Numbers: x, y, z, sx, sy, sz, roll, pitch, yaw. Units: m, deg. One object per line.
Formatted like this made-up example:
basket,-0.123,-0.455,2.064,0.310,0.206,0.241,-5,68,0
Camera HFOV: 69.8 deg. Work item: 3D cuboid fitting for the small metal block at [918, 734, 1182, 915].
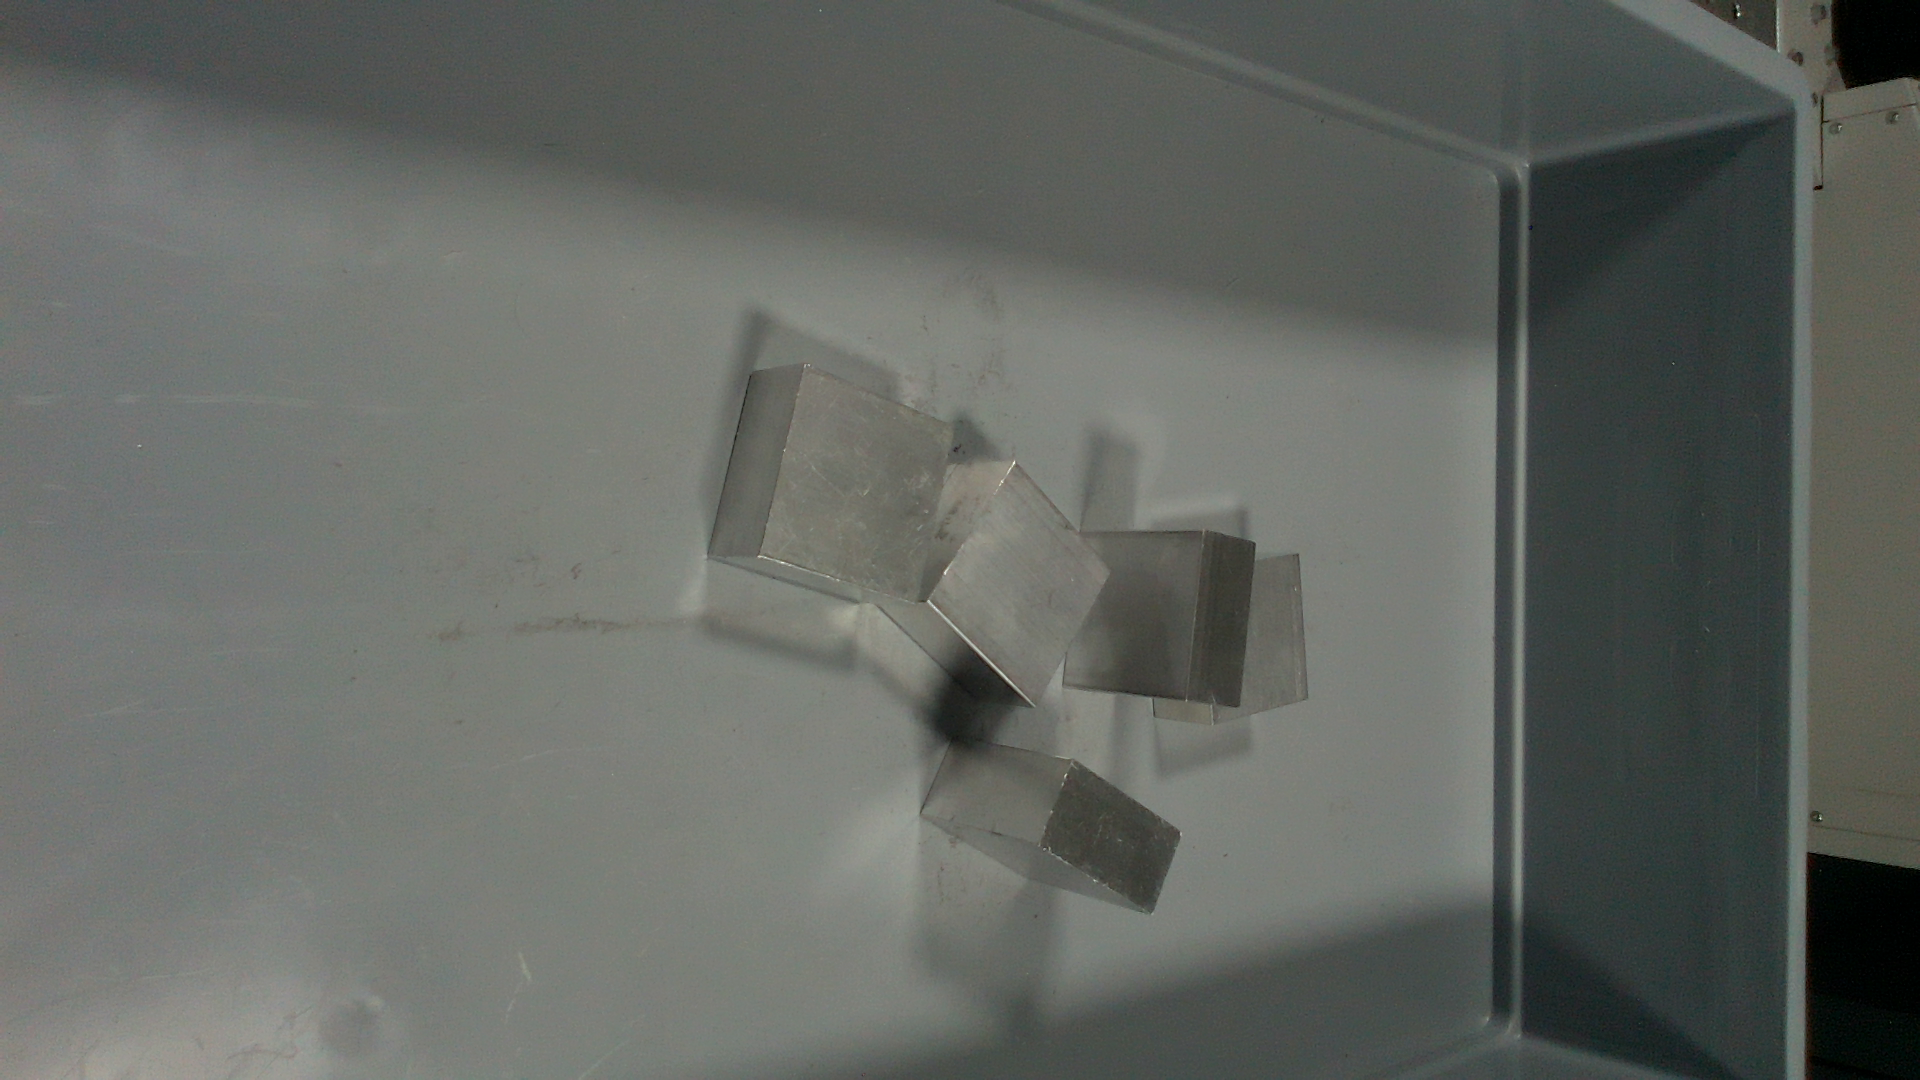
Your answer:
small metal block,0.026,0.080,0.391,0.050,0.050,0.025,38,68,-34

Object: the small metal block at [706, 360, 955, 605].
small metal block,-0.033,-0.014,0.359,0.050,0.025,0.050,19,78,-38

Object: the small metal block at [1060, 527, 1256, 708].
small metal block,0.060,0.023,0.421,0.025,0.050,0.050,12,82,-40

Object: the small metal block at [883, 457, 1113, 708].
small metal block,0.010,0.012,0.394,0.050,0.025,0.050,46,63,-30

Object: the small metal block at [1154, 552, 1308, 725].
small metal block,0.089,0.031,0.461,0.050,0.025,0.050,-7,95,-40
